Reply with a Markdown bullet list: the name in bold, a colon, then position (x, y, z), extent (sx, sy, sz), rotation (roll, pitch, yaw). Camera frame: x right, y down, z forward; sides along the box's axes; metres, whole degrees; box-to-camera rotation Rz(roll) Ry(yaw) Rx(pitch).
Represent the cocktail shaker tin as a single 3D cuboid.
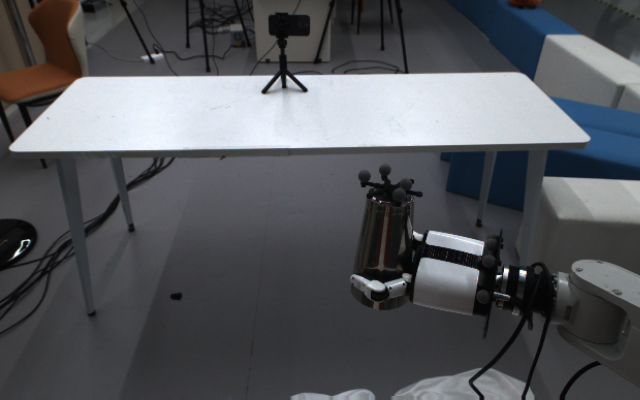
- **cocktail shaker tin**: position (0.097, 0.066, 0.716), extent (0.093, 0.170, 0.093), rotation (1, 28, -1)
